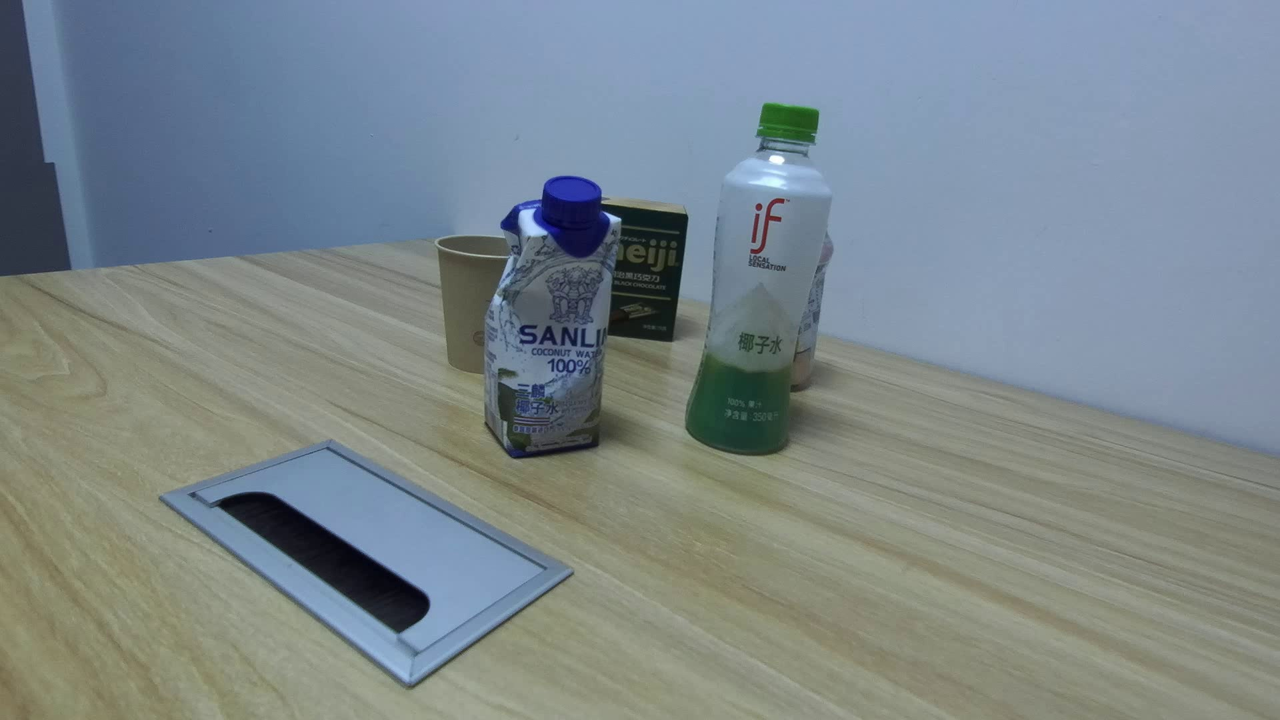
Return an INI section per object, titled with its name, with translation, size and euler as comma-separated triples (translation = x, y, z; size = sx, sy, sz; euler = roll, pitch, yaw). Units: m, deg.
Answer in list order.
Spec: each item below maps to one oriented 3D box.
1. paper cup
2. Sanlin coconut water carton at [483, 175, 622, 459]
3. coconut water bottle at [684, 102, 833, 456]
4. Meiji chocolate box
[paper cup]
translation = -0.112, -0.040, 0.515
size = 0.075, 0.082, 0.075
euler = 7, 19, -2
[Sanlin coconut water carton]
translation = -0.049, -0.024, 0.376
size = 0.061, 0.143, 0.069
euler = -4, 22, -28
[coconut water bottle]
translation = 0.070, -0.044, 0.403
size = 0.063, 0.188, 0.063
euler = 7, 17, -2
[Meiji chocolate box]
translation = -0.019, -0.078, 0.591
size = 0.110, 0.109, 0.056
euler = 6, 20, -1
